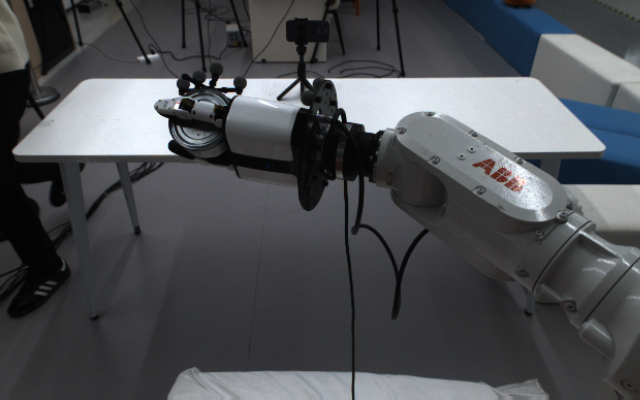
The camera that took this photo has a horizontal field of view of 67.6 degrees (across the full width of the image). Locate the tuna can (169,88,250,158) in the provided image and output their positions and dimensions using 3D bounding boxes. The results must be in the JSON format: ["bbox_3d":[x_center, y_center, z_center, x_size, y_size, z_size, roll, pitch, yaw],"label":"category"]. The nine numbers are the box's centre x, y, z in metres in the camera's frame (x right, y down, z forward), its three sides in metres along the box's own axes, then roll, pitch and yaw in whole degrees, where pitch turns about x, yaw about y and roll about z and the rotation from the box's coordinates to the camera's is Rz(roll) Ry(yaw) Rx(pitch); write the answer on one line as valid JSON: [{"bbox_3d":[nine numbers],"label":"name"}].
[{"bbox_3d":[-0.147,-0.098,0.625,0.085,0.034,0.085,-3,73,9],"label":"tuna can"}]
